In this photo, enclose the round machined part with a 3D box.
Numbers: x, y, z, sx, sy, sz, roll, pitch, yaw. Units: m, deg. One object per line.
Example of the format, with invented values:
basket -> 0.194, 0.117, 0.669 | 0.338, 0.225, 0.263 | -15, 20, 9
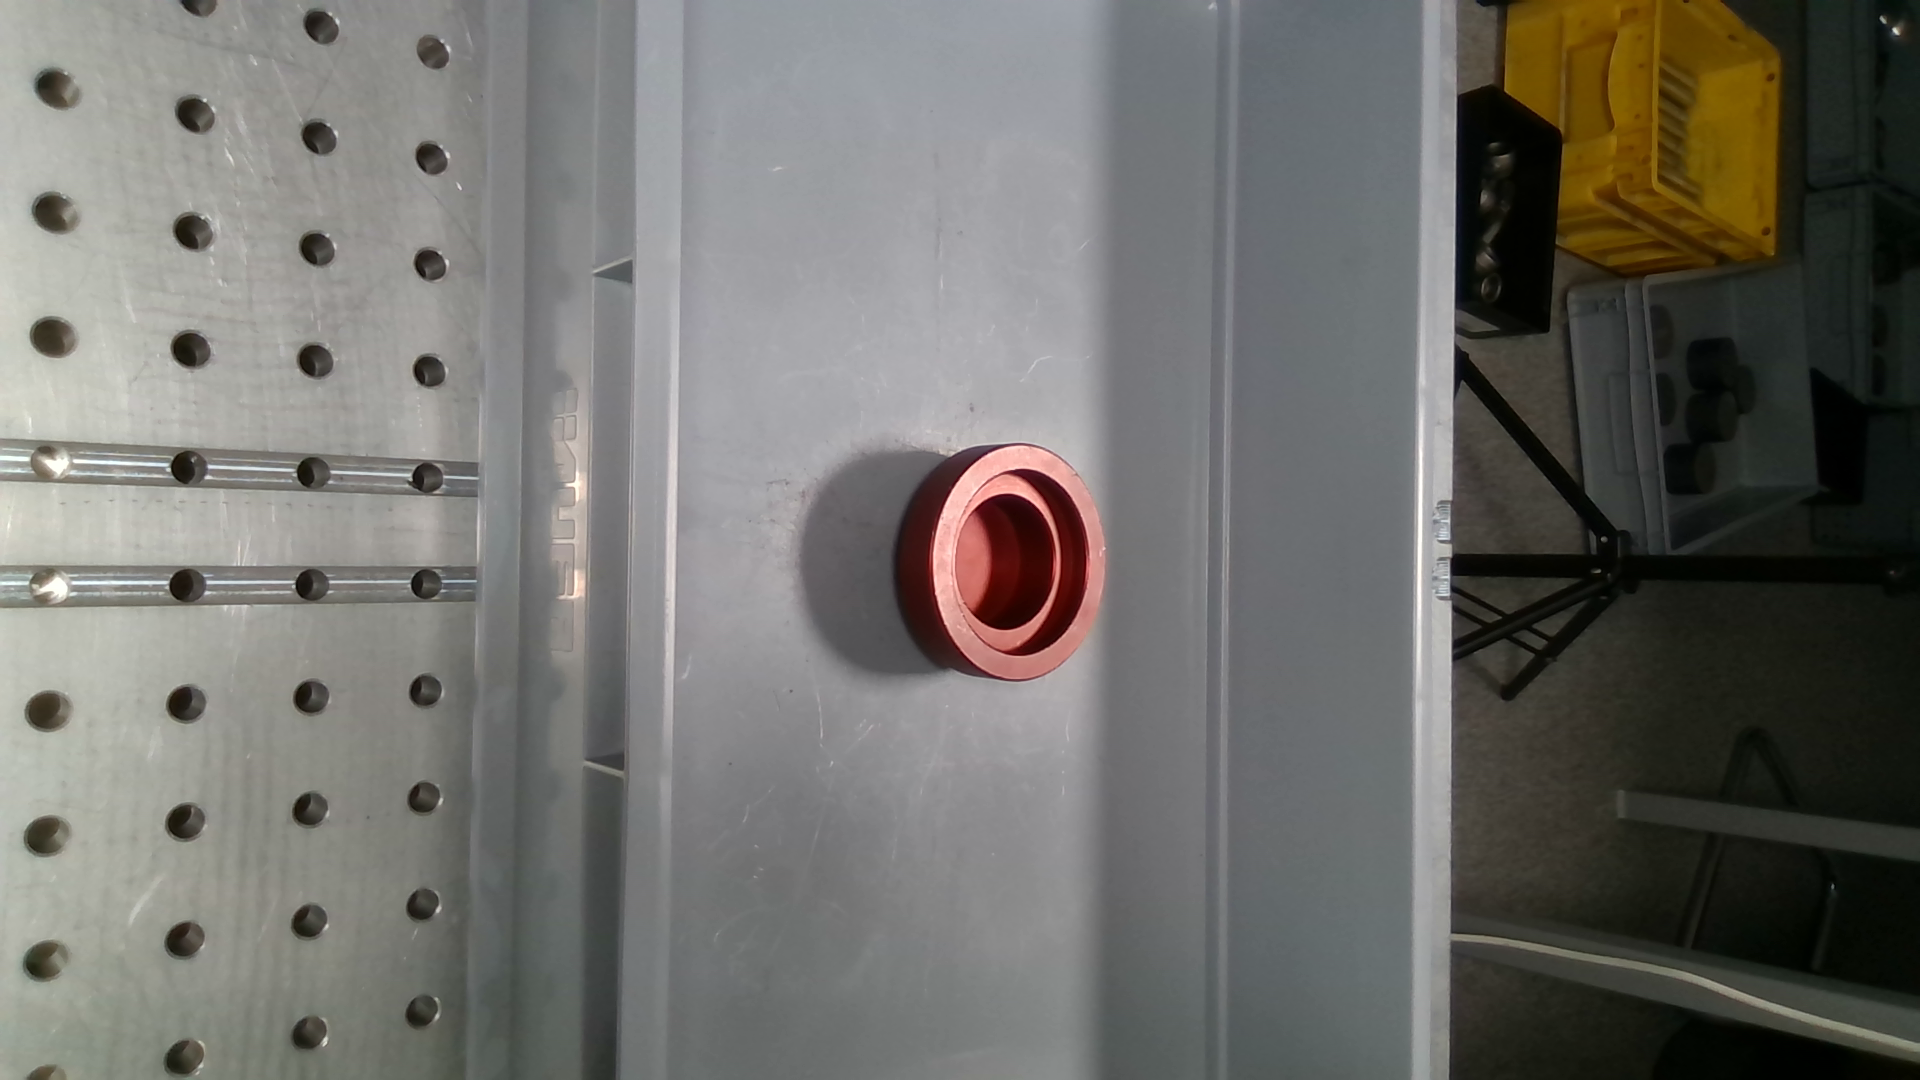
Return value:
round machined part -> 0.013, 0.009, 0.578 | 0.098, 0.042, 0.098 | 0, 90, -40
